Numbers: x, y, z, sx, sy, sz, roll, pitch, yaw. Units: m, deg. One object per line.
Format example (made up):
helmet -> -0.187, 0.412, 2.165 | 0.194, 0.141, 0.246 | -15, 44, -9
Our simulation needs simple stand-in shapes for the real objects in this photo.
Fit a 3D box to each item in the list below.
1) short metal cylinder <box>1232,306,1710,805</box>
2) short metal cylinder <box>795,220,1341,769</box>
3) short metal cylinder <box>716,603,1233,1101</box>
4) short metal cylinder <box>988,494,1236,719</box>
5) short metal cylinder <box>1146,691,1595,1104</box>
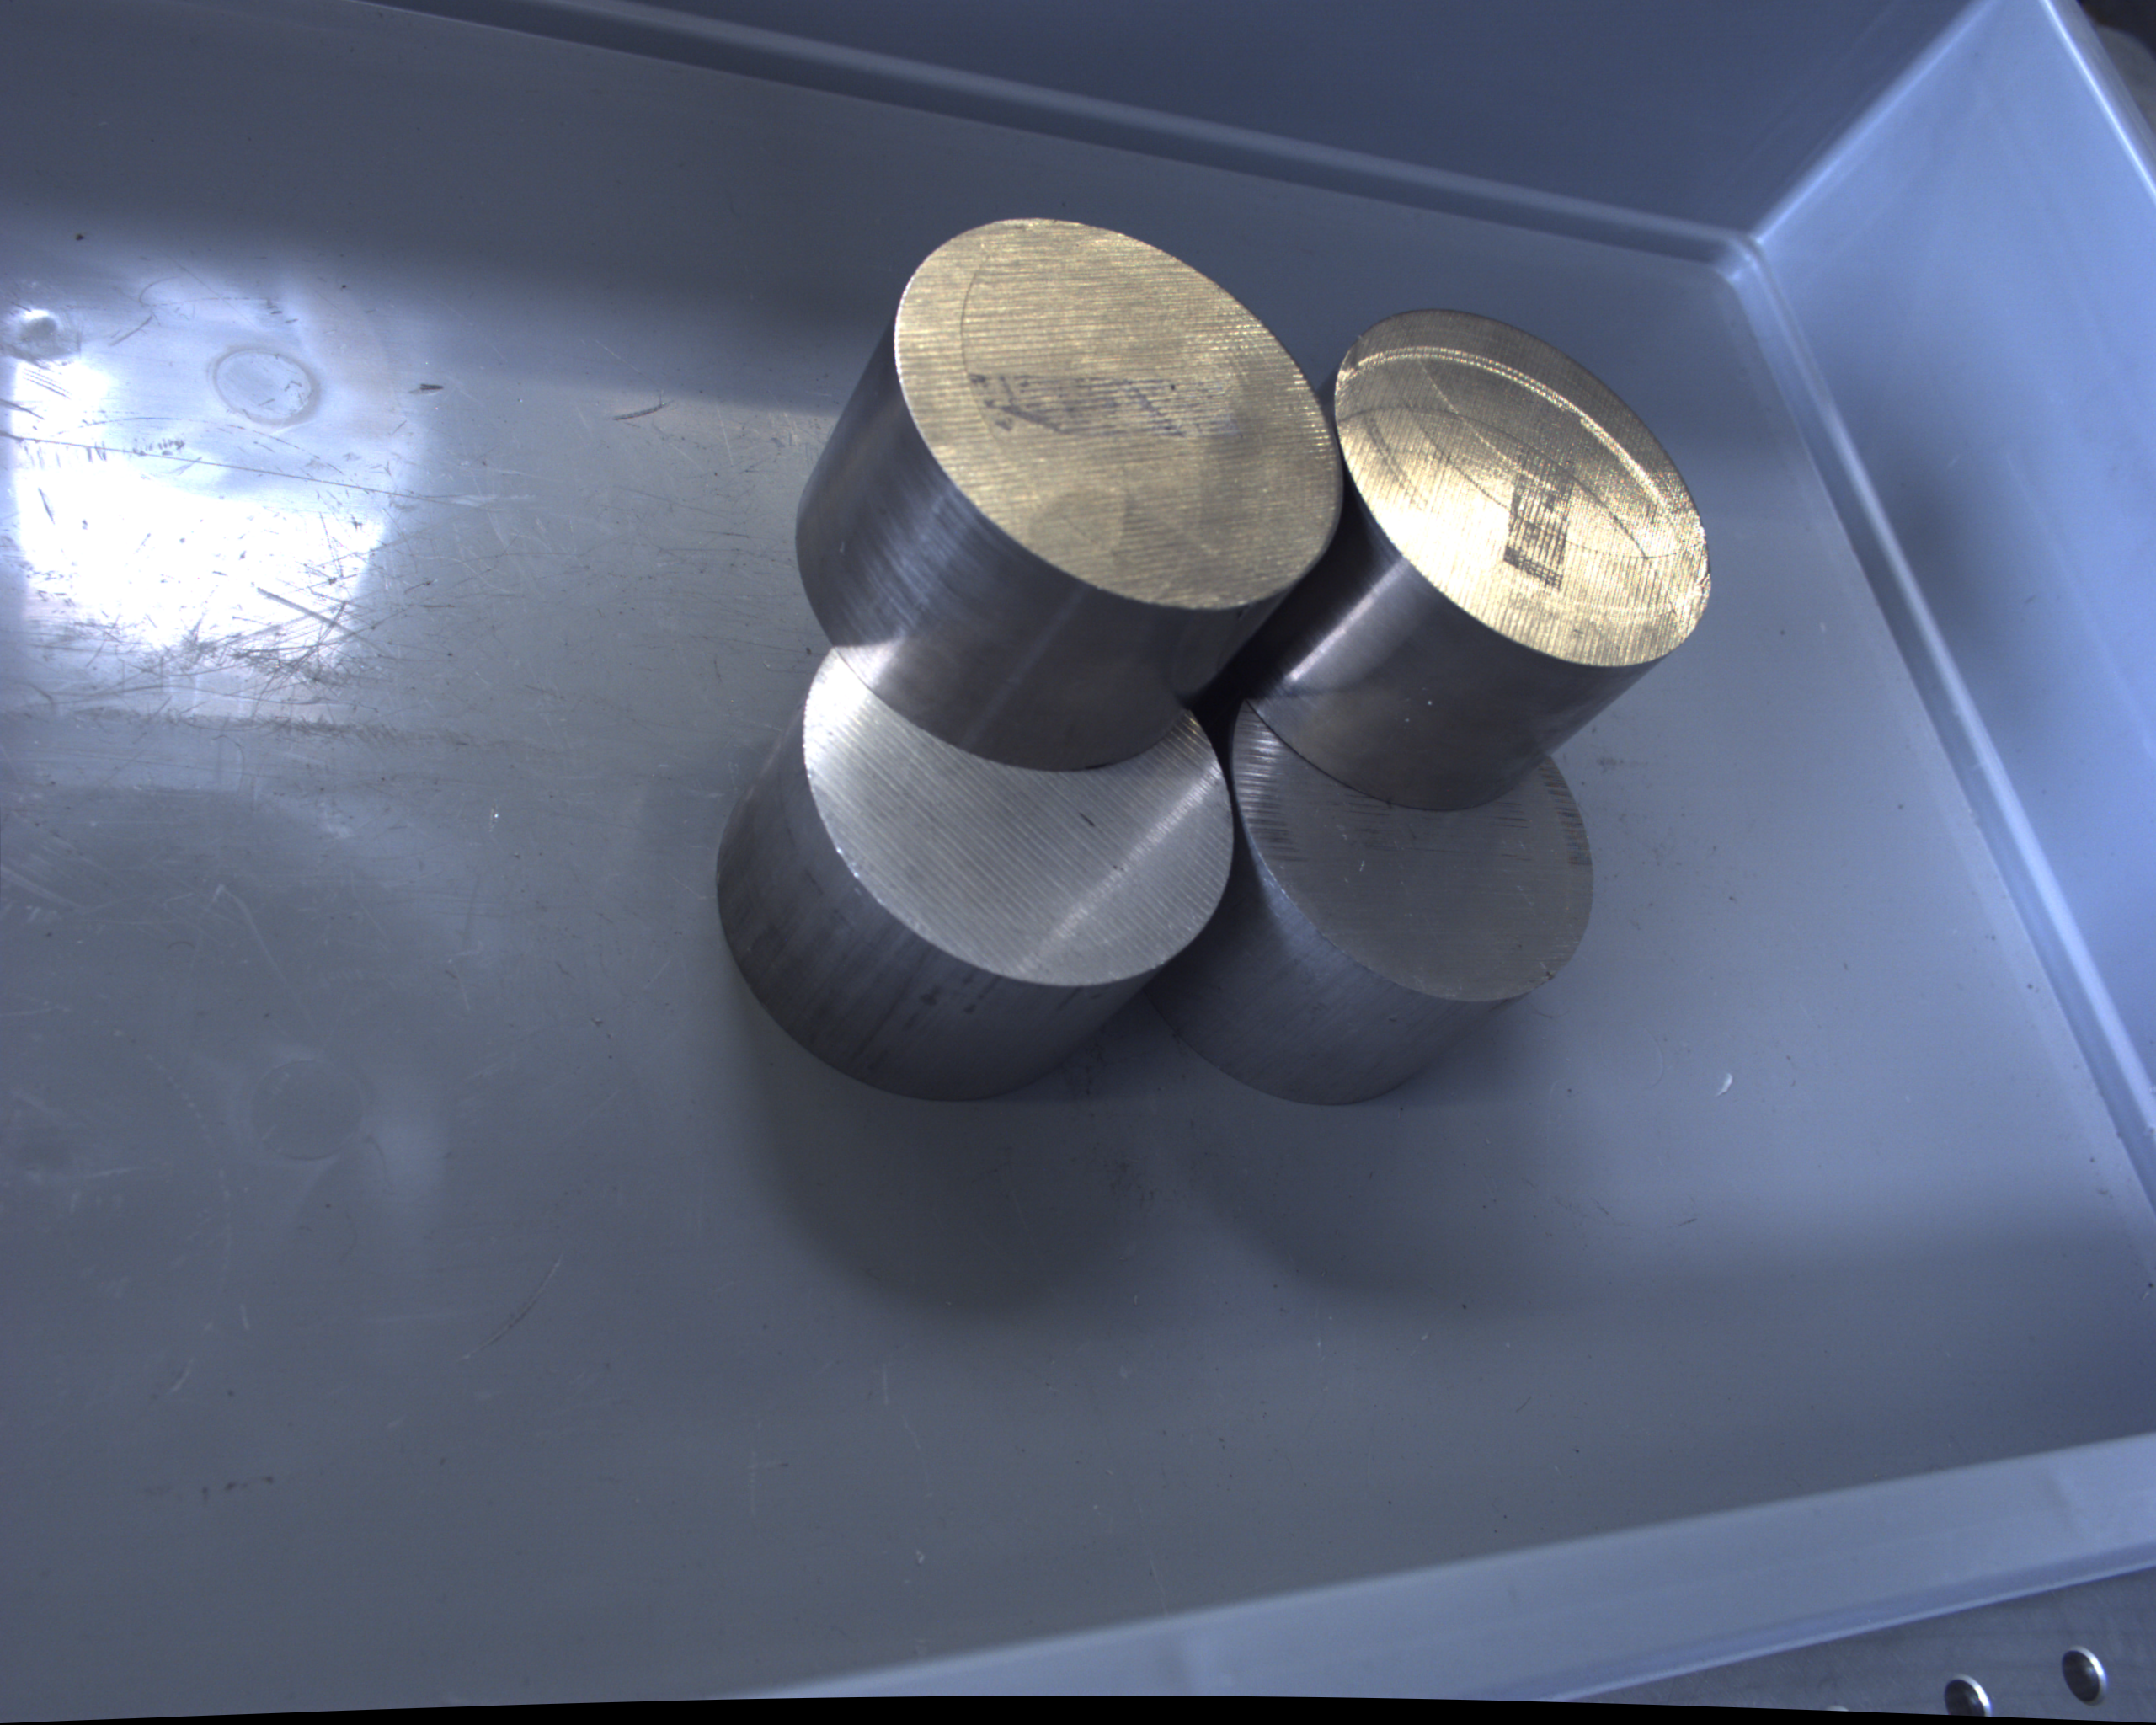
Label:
short metal cylinder -> 0.071, -0.058, 0.395 | 0.081, 0.050, 0.080 | 14, 56, -21
short metal cylinder -> -0.002, -0.063, 0.360 | 0.081, 0.050, 0.080 | 14, 56, -21
short metal cylinder -> -0.019, -0.003, 0.379 | 0.081, 0.050, 0.080 | 14, 56, -21
short metal cylinder -> 0.005, -0.062, 0.428 | 0.081, 0.050, 0.080 | 14, 56, -21
short metal cylinder -> 0.054, 0.002, 0.415 | 0.081, 0.050, 0.080 | 14, 56, -21
